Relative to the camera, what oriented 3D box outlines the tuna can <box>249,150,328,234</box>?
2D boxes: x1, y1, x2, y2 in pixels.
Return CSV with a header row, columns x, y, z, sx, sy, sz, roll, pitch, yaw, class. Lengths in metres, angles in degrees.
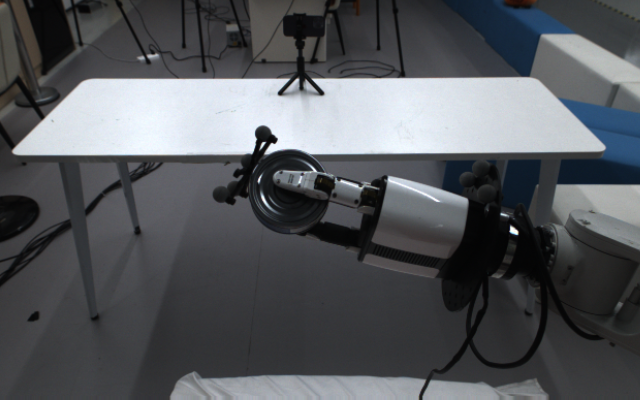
x,y,z,sx,sy,sz,roll,pitch,yaw,class
-0.027,-0.005,0.504,0.085,0.034,0.085,1,76,-5,tuna can
